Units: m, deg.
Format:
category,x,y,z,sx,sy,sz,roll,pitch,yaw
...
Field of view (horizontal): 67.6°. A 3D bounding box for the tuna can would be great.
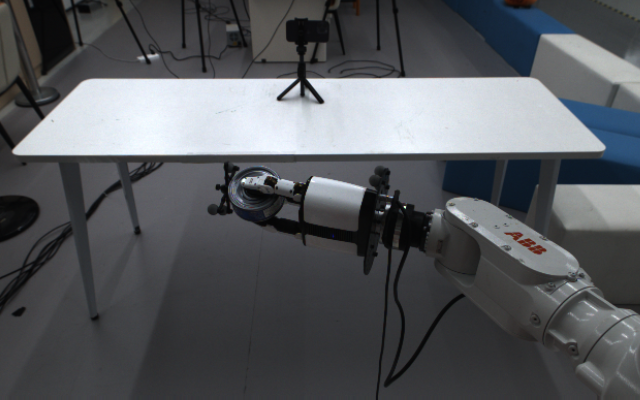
category,x,y,z,sx,sy,sz,roll,pitch,yaw
tuna can,-0.097,-0.011,0.752,0.085,0.034,0.085,-2,58,3
